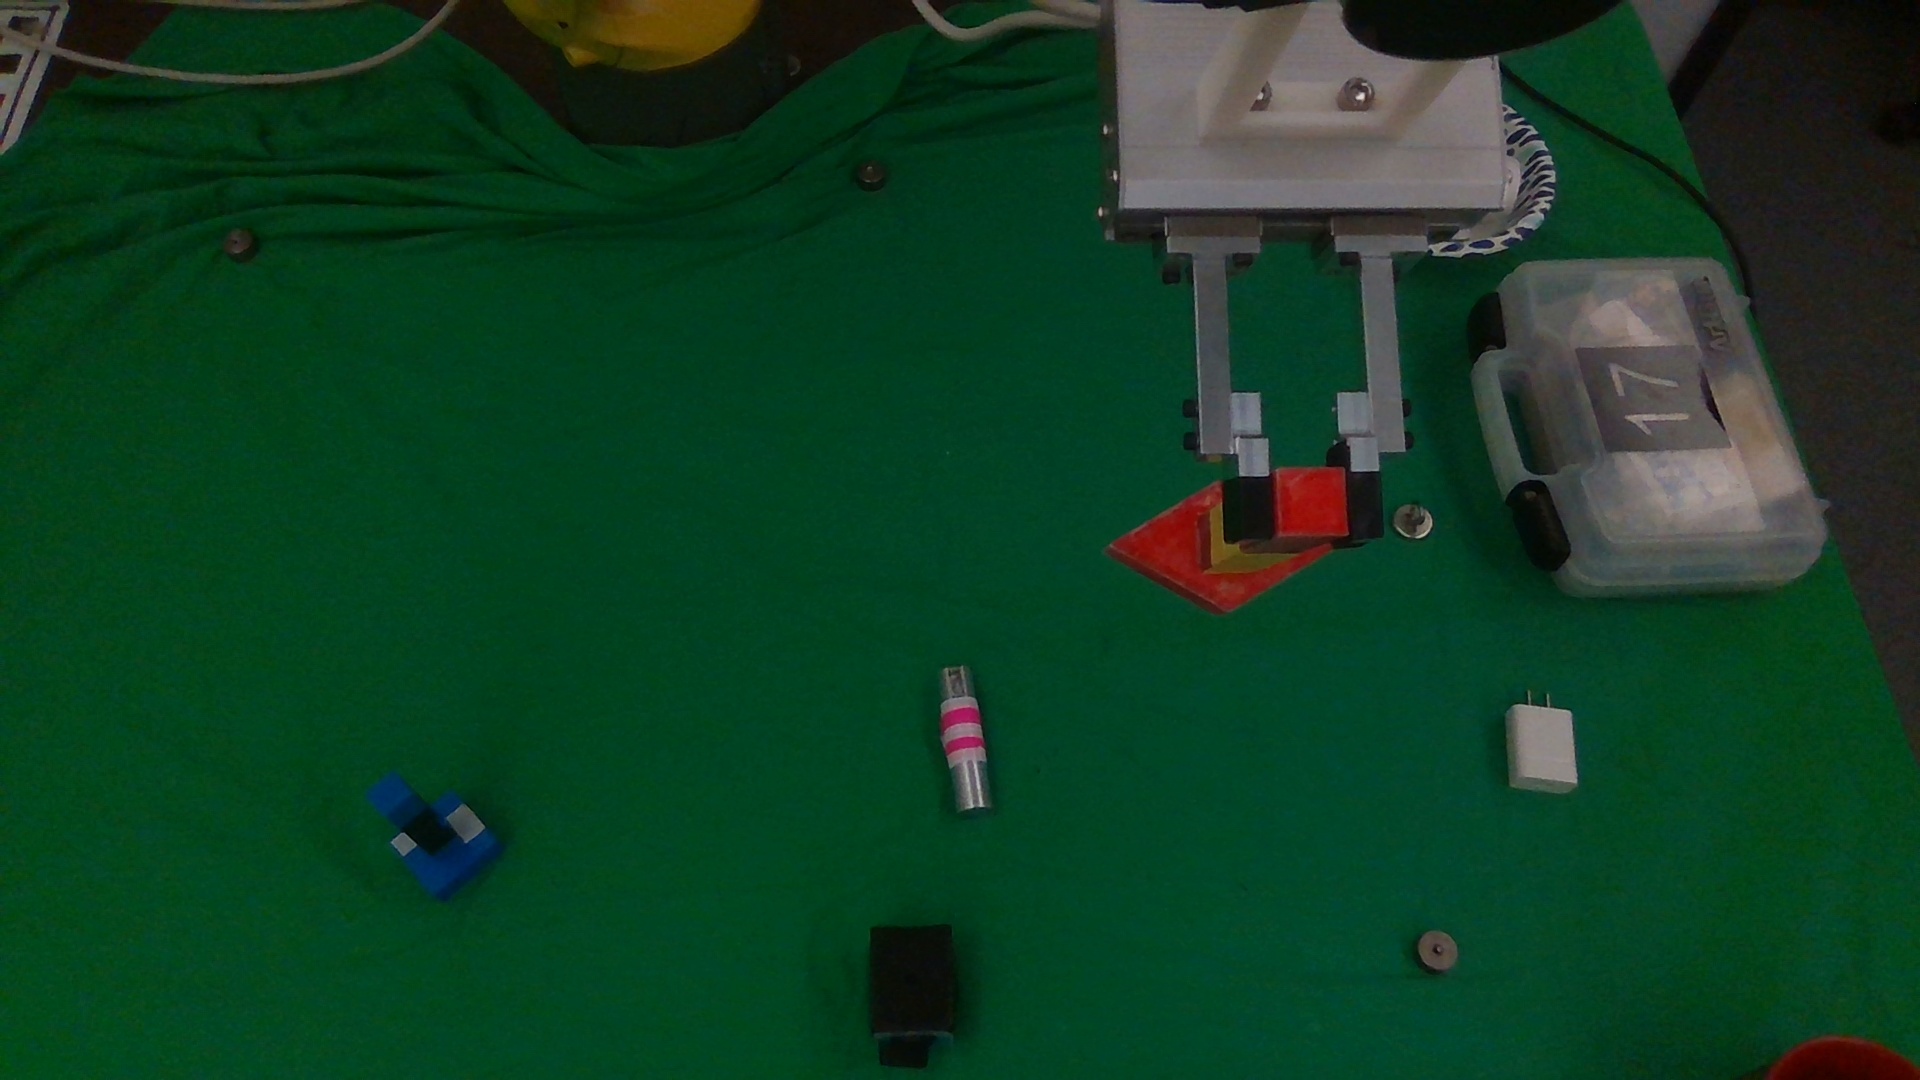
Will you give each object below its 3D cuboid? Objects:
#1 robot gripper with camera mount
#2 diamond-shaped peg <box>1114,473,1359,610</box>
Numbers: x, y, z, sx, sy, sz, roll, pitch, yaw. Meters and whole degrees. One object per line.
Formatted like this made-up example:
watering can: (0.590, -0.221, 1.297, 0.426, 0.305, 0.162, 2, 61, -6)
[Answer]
robot gripper with camera mount: (0.121, -0.086, 0.358, 0.119, 0.193, 0.158, 0, 84, -10)
diamond-shaped peg: (0.102, -0.004, 0.465, 0.074, 0.122, 0.045, -29, 87, -5)
